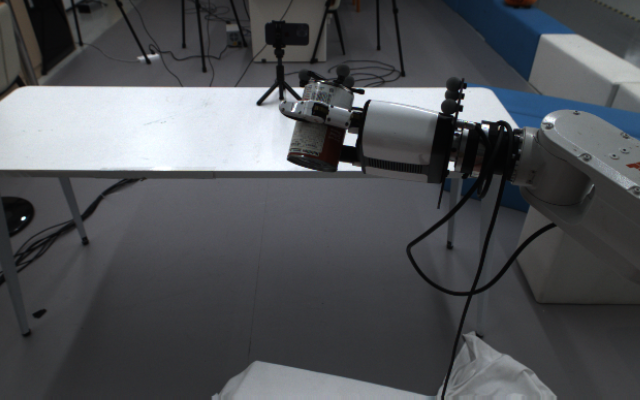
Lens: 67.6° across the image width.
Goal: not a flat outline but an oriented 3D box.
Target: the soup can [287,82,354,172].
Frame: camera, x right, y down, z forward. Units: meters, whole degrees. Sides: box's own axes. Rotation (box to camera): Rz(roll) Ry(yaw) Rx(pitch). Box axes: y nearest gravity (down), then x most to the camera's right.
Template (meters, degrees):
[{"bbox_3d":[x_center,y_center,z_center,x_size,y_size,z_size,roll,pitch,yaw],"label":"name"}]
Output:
[{"bbox_3d":[0.002,-0.093,0.624,0.067,0.101,0.067,13,-6,1],"label":"soup can"}]
